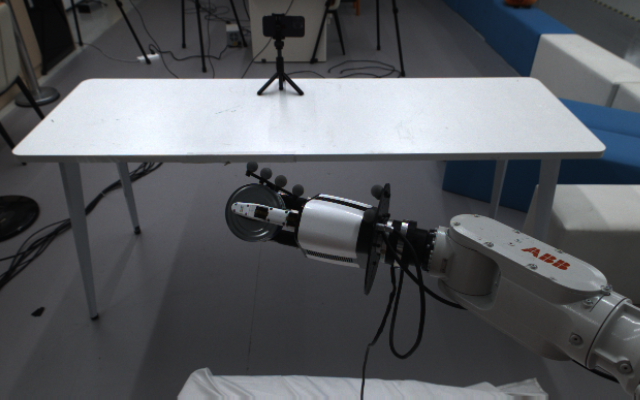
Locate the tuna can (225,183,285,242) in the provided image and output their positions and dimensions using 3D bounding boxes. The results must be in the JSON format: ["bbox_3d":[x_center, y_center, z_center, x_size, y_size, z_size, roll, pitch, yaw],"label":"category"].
[{"bbox_3d":[-0.093,0.020,0.715,0.085,0.085,0.034,10,-4,11],"label":"tuna can"}]
